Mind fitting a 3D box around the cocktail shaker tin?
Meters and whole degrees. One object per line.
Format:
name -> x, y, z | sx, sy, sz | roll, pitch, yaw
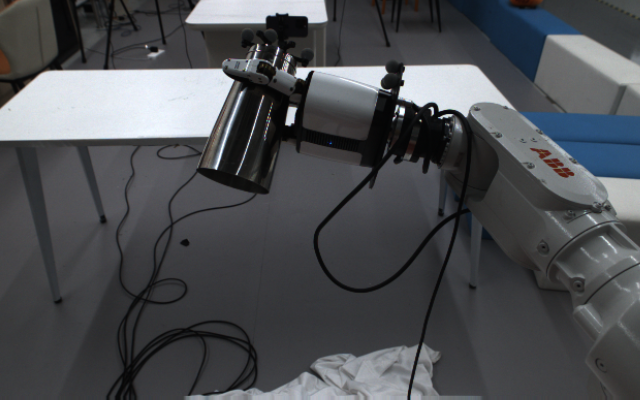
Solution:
cocktail shaker tin -> -0.080, -0.105, 0.604 | 0.093, 0.093, 0.170 | 13, 79, 15
